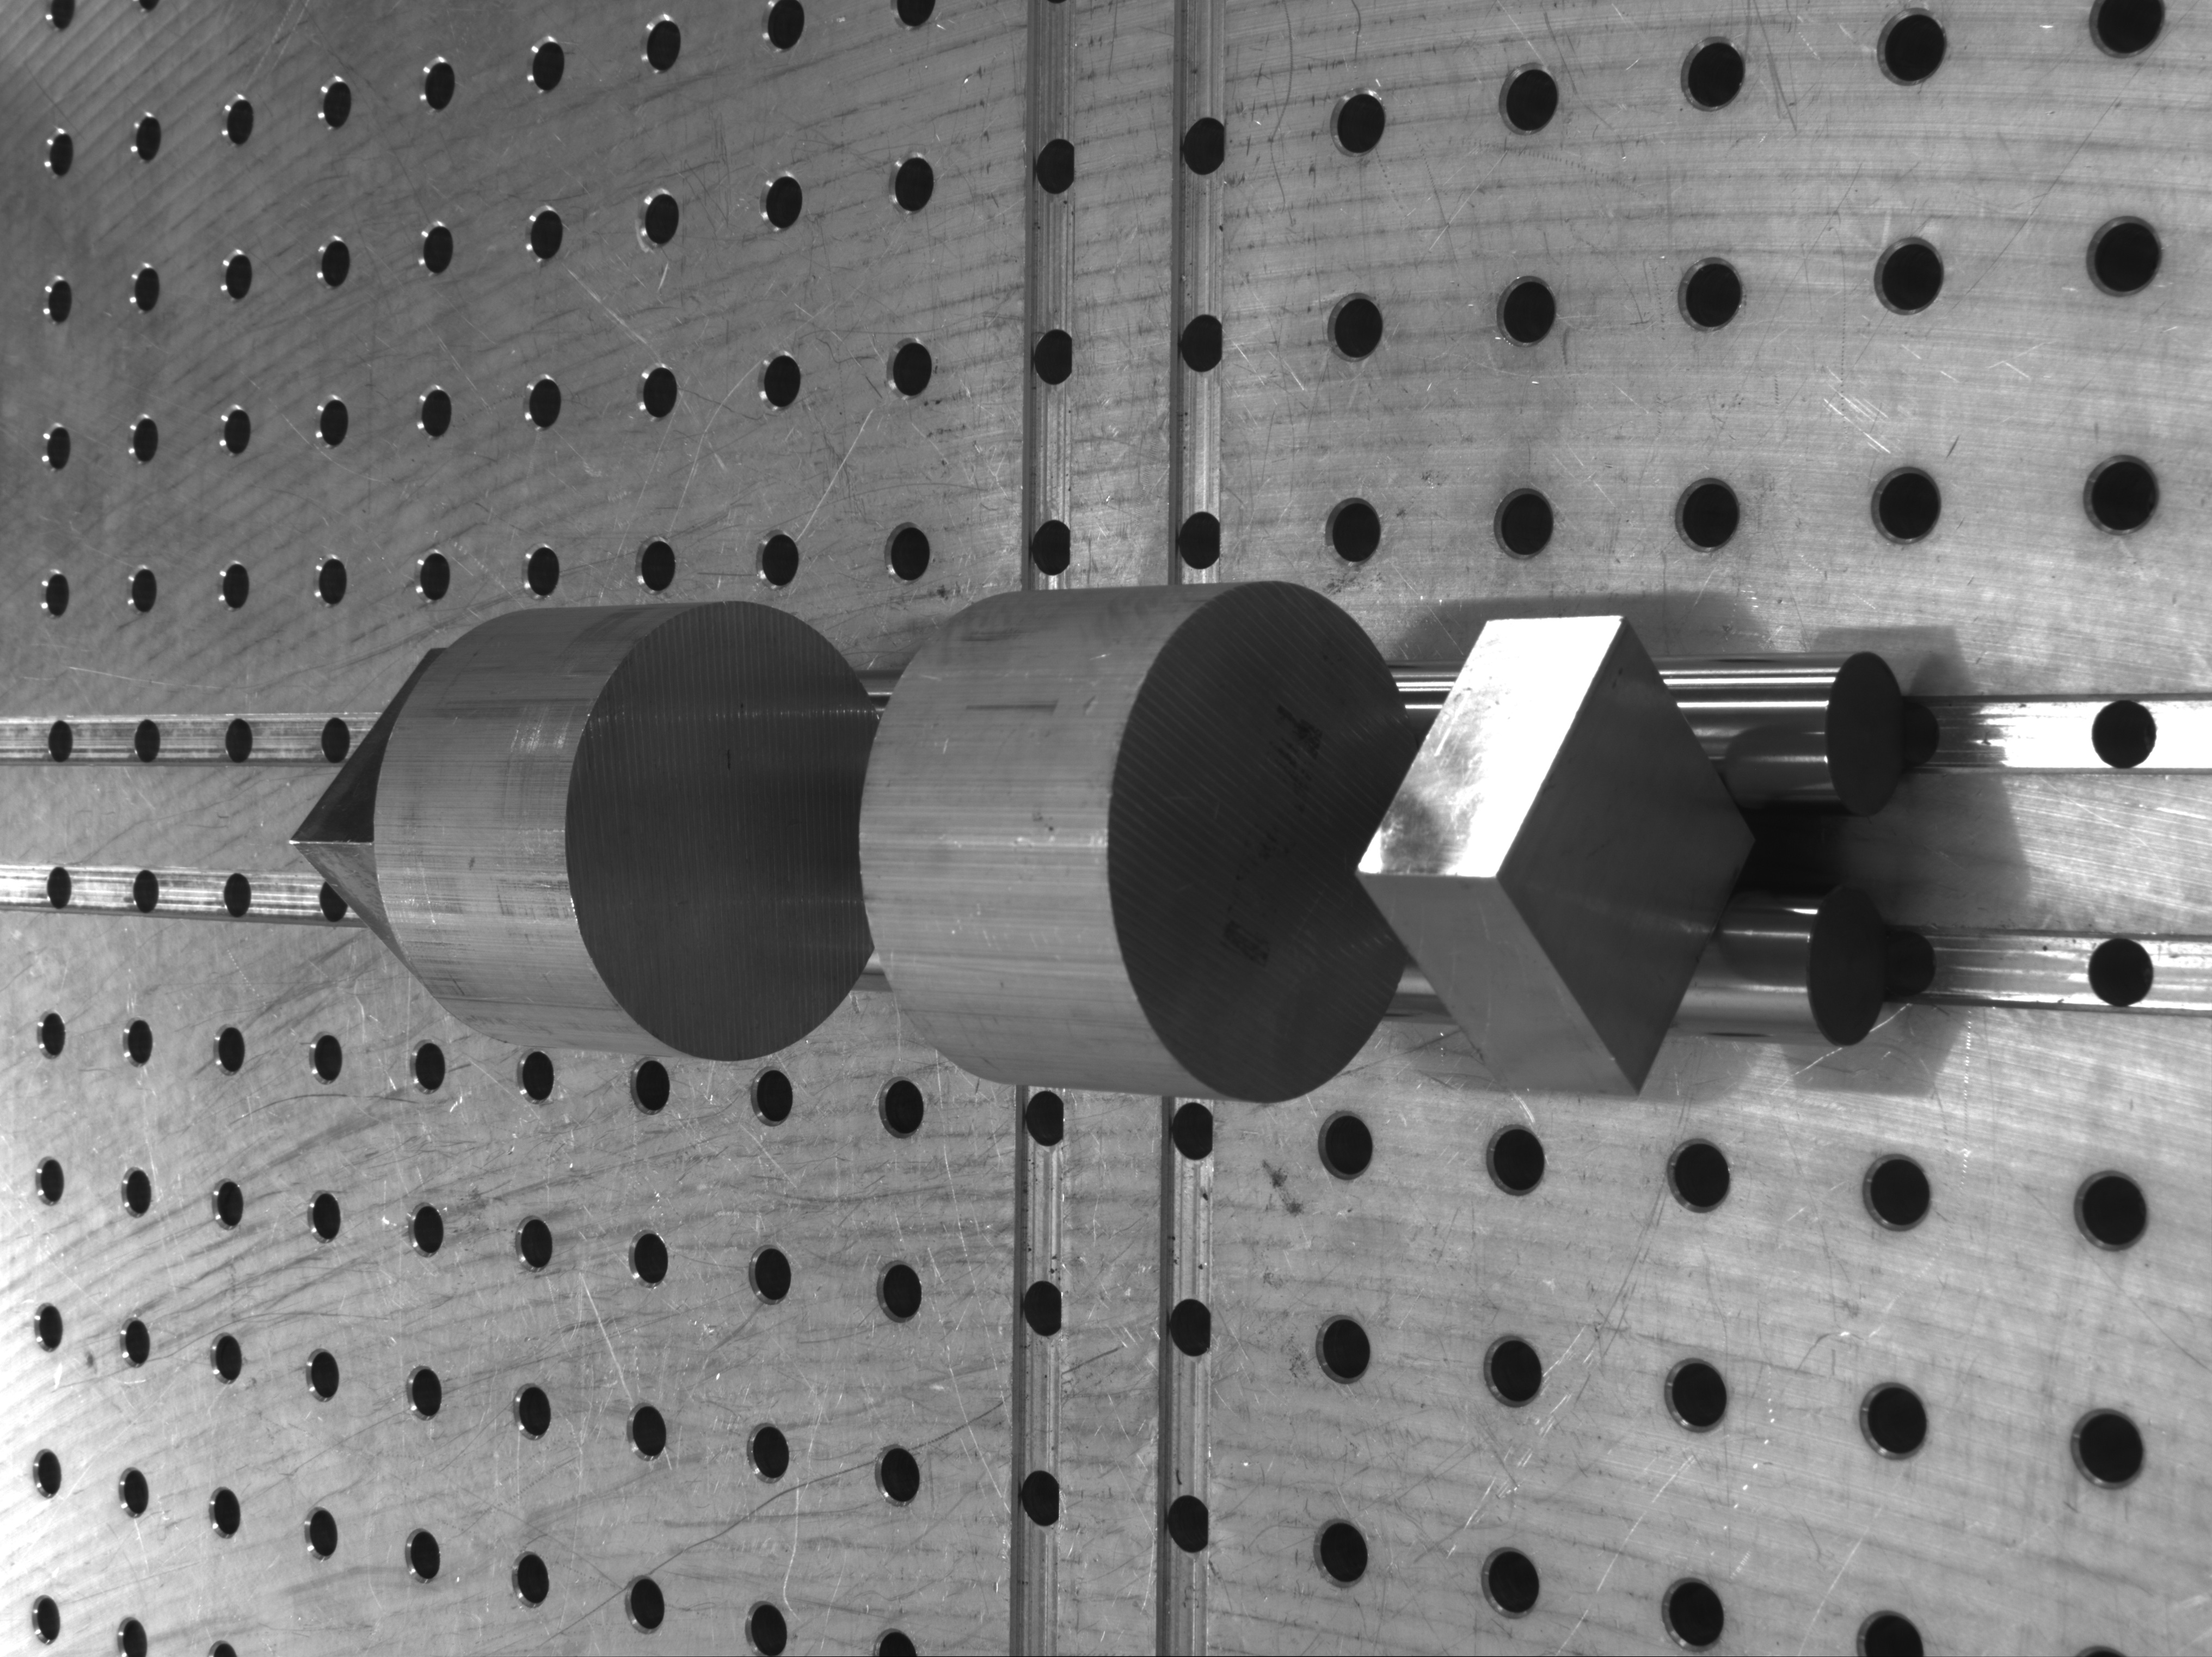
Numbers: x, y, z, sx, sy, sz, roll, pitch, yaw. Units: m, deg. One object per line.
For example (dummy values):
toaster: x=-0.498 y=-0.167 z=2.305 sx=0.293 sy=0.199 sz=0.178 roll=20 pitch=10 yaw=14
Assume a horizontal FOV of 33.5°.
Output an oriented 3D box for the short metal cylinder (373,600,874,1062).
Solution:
short metal cylinder: x=-0.083 y=0.000 z=0.654 sx=0.050 sy=0.080 sz=0.080 roll=1 pitch=90 yaw=40

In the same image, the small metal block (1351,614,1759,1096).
small metal block: x=0.068 y=0.004 z=0.545 sx=0.025 sy=0.050 sz=0.050 roll=1 pitch=49 yaw=41

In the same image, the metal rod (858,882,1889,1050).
metal rod: x=-0.002 y=0.019 z=0.651 sx=0.299 sy=0.025 sz=0.025 roll=1 pitch=91 yaw=40

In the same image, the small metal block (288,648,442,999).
small metal block: x=-0.120 y=0.000 z=0.704 sx=0.025 sy=0.050 sz=0.050 roll=1 pitch=48 yaw=41

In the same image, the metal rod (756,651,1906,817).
metal rod: x=0.000 y=-0.016 z=0.649 sx=0.299 sy=0.025 sz=0.025 roll=1 pitch=91 yaw=40

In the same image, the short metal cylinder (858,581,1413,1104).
short metal cylinder: x=0.007 y=0.002 z=0.578 sx=0.050 sy=0.080 sz=0.080 roll=1 pitch=90 yaw=40
